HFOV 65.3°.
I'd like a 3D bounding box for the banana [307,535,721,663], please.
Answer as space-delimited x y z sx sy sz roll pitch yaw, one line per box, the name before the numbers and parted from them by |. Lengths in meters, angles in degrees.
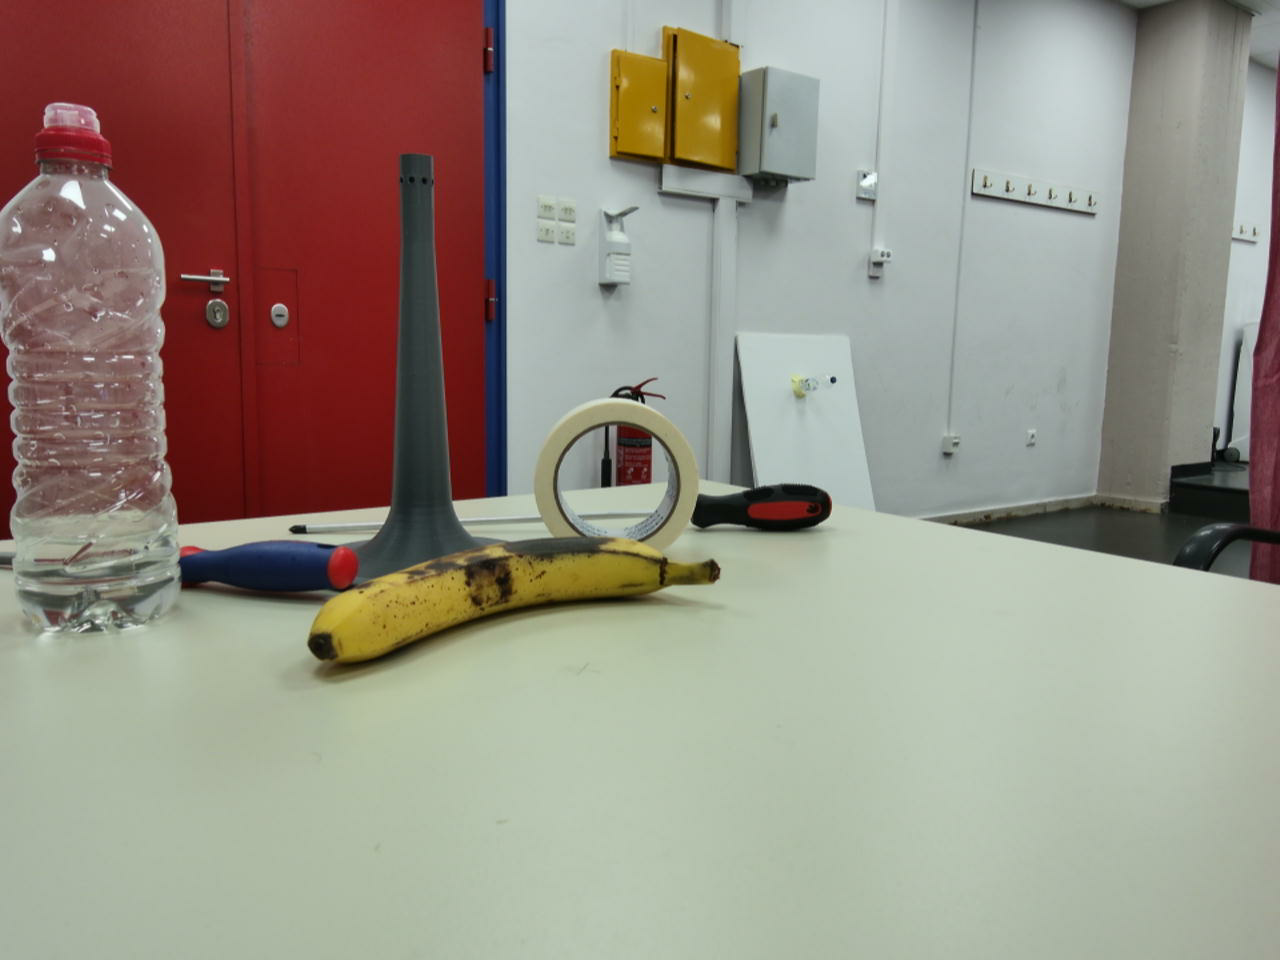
banana | -0.067 0.054 0.507 0.222 0.037 0.084 -5 8 -37
